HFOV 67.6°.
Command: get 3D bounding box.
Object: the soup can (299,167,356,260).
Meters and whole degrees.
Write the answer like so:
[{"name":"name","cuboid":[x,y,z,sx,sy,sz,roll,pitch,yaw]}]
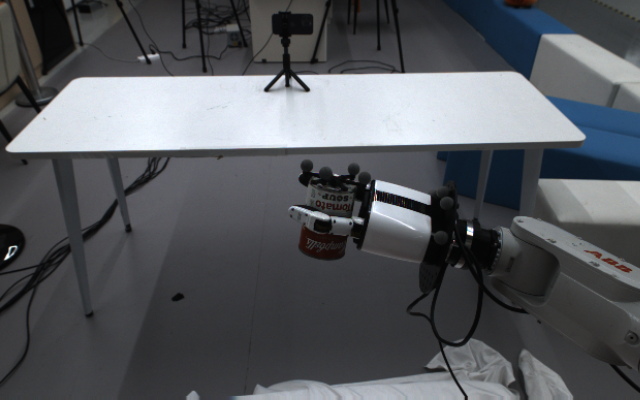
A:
[{"name":"soup can","cuboid":[0.011,0.023,0.670,0.067,0.101,0.067,8,19,-3]}]
